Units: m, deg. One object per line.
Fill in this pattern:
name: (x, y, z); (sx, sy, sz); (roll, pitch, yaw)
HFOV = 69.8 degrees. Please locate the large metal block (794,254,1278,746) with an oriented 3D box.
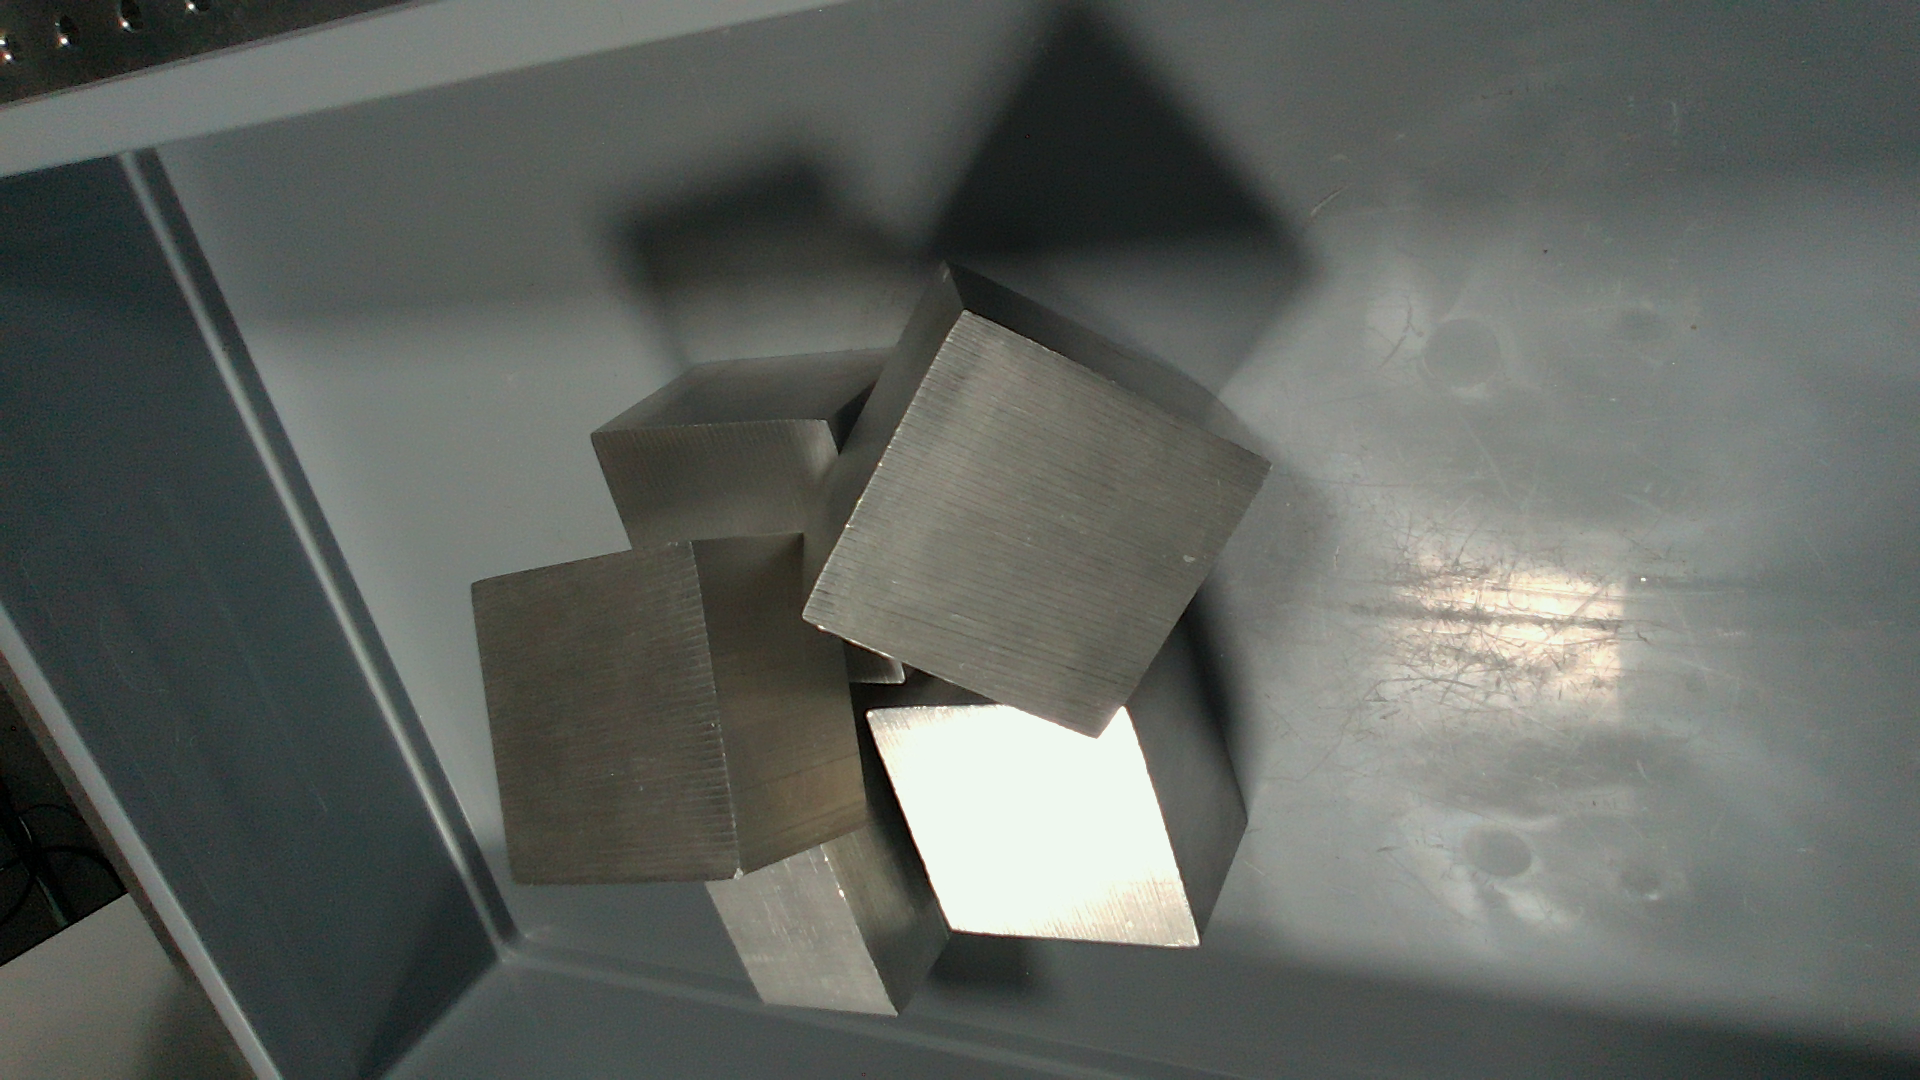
large metal block: (0.014, -0.009, 0.329); (0.080, 0.050, 0.080); (24, 109, -16)

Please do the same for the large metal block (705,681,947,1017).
large metal block: (-0.035, 0.087, 0.429); (0.050, 0.080, 0.080); (-7, 115, 31)

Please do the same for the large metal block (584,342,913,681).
large metal block: (-0.049, -0.008, 0.397); (0.080, 0.050, 0.080); (-1, 118, 29)

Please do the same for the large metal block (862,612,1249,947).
large metal block: (0.030, 0.067, 0.398); (0.080, 0.050, 0.080); (-6, 116, 31)

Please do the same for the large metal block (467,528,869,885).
large metal block: (-0.076, 0.043, 0.359); (0.080, 0.050, 0.080); (-10, 88, 33)
